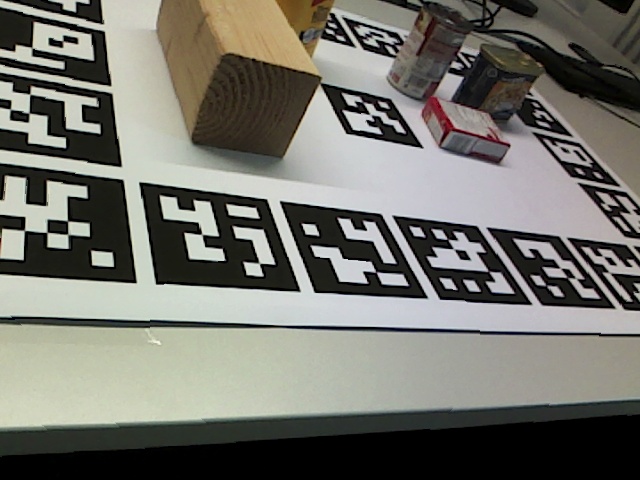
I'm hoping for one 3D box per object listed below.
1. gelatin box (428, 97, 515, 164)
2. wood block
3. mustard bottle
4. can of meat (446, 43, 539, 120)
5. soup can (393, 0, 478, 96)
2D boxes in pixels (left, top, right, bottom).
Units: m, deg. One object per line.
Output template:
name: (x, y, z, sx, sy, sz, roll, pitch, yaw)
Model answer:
gelatin box: (0.181, -0.132, 0.743, 0.089, 0.030, 0.073, 10, 42, -19)
wood block: (-0.083, -0.176, 0.584, 0.090, 0.090, 0.207, 7, 37, -29)
mustard bottle: (-0.011, -0.275, 0.672, 0.059, 0.191, 0.095, 45, 38, 22)
can of meat: (0.229, -0.207, 0.828, 0.101, 0.084, 0.058, -5, 48, -40)
soup can: (0.144, -0.243, 0.787, 0.067, 0.102, 0.068, 17, 39, -15)
